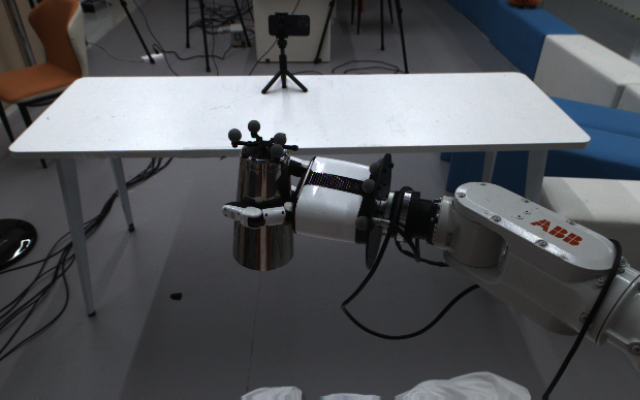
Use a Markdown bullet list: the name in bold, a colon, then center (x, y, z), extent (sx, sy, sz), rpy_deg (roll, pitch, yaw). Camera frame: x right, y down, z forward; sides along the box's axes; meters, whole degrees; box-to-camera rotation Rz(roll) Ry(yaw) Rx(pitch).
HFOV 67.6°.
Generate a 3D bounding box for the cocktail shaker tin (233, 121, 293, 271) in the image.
- **cocktail shaker tin**: center (-0.080, 0.005, 0.690), extent (0.093, 0.170, 0.093), rpy_deg (4, 32, -2)
